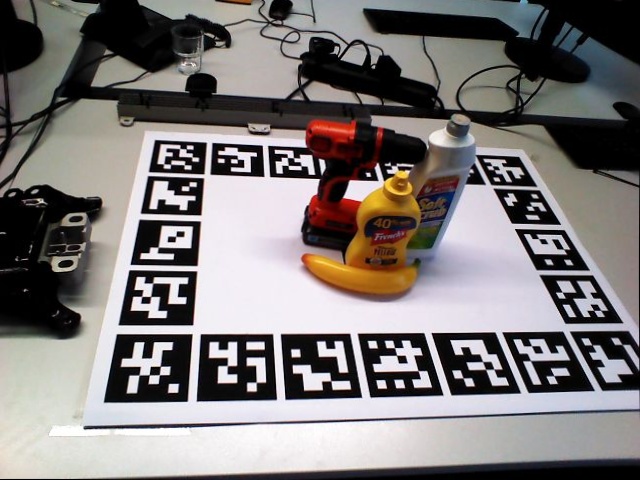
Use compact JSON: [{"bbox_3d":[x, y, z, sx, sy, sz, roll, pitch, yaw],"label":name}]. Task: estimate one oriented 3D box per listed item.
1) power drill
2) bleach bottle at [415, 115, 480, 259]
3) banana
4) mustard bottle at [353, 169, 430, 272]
[{"bbox_3d":[0.070,-0.093,0.797,0.185,0.188,0.057,12,45,-1],"label":"power drill"},{"bbox_3d":[0.181,-0.082,0.801,0.103,0.252,0.067,4,41,-6],"label":"bleach bottle"},{"bbox_3d":[0.083,0.053,0.808,0.197,0.039,0.074,4,47,-3],"label":"banana"},{"bbox_3d":[0.113,-0.026,0.769,0.096,0.192,0.058,3,47,-9],"label":"mustard bottle"}]
